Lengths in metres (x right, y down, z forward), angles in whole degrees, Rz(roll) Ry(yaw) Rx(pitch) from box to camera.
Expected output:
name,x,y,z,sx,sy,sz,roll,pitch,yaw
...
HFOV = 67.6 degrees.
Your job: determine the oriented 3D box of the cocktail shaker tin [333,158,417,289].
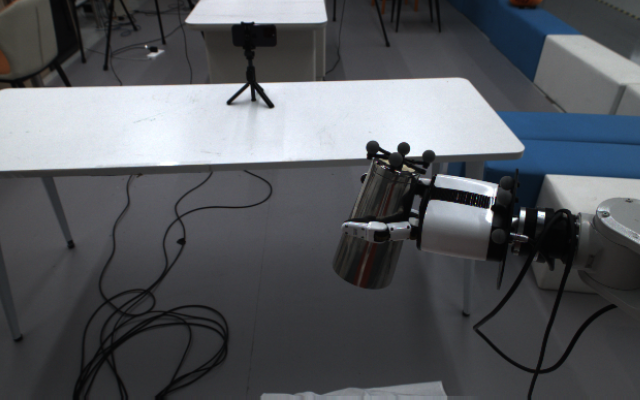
name,x,y,z,sx,sy,sz,roll,pitch,yaw
cocktail shaker tin,0.084,0.027,0.677,0.093,0.170,0.093,12,24,-5
